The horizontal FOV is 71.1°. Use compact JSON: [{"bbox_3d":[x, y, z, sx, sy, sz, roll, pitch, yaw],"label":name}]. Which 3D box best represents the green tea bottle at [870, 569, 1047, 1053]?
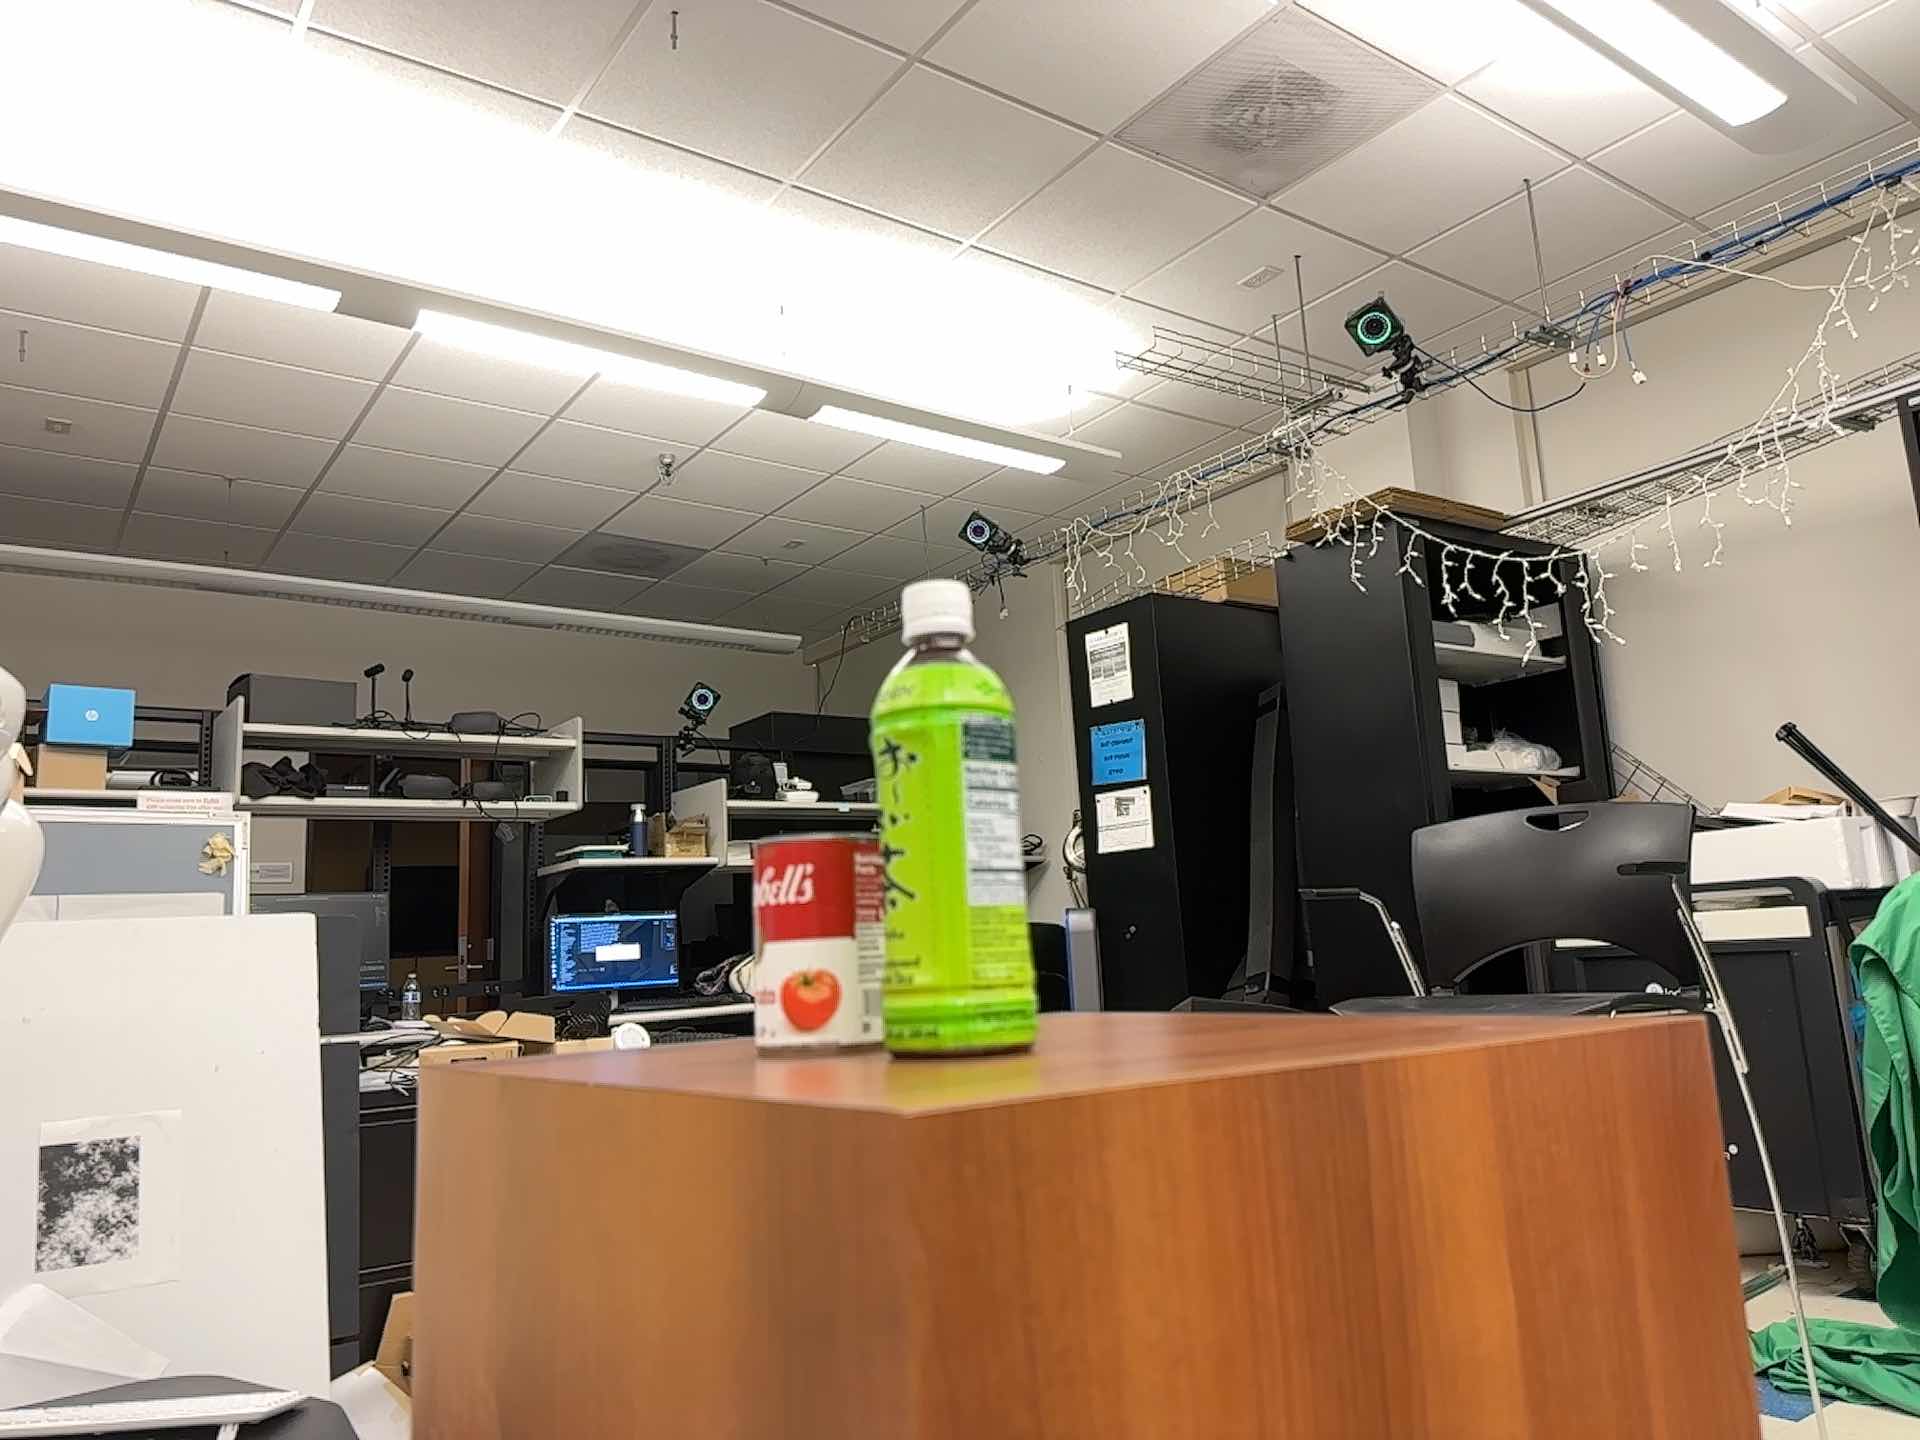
[{"bbox_3d":[-0.005,0.038,0.597,0.073,0.212,0.073,-5,-13,-1],"label":"green tea bottle"}]

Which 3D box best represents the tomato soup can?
[{"bbox_3d":[-0.069,0.105,0.655,0.067,0.102,0.067,-4,-12,-1],"label":"tomato soup can"}]
